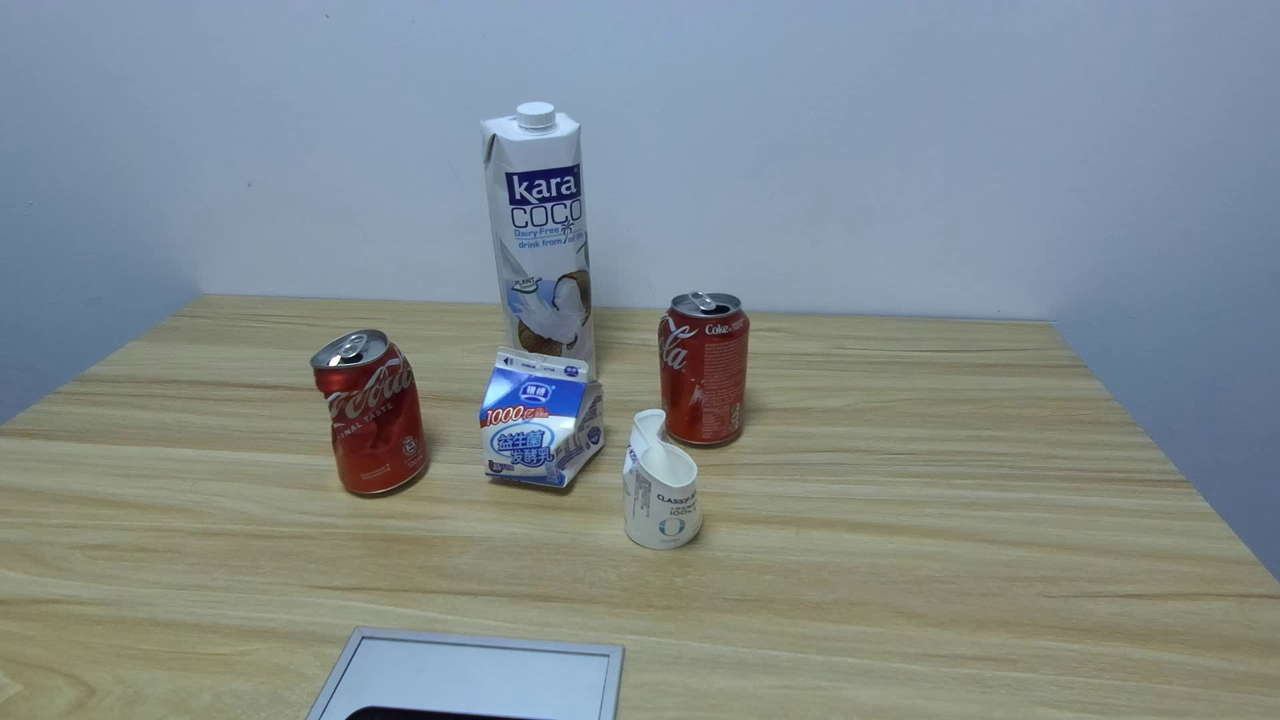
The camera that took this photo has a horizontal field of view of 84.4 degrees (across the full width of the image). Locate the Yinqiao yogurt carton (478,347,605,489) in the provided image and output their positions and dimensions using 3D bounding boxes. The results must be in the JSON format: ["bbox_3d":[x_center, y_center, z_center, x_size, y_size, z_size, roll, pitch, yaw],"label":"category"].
[{"bbox_3d":[-0.072,0.039,0.531,0.074,0.097,0.080,6,24,13],"label":"Yinqiao yogurt carton"}]

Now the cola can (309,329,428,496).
[{"bbox_3d":[-0.199,0.039,0.524,0.069,0.112,0.065,-25,36,-36],"label":"cola can"}]

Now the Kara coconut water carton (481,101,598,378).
[{"bbox_3d":[-0.084,-0.093,0.610,0.077,0.245,0.075,-11,29,-16],"label":"Kara coconut water carton"}]

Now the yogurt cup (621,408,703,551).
[{"bbox_3d":[0.016,0.083,0.474,0.054,0.071,0.075,-25,39,-34],"label":"yogurt cup"}]

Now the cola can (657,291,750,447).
[{"bbox_3d":[0.050,0.007,0.562,0.072,0.117,0.065,2,31,5],"label":"cola can"}]
